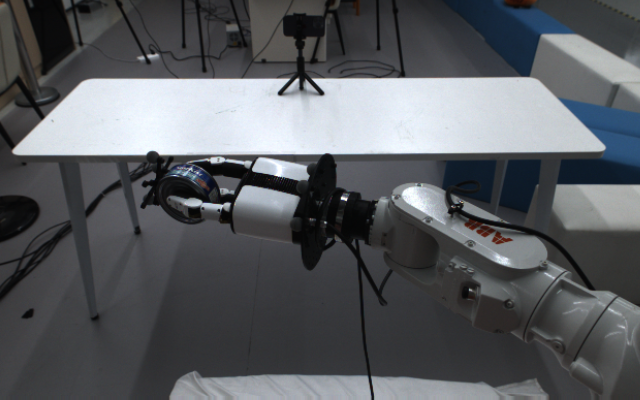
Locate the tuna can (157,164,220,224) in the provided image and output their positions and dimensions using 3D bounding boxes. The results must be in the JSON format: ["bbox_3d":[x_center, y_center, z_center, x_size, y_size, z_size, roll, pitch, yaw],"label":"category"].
[{"bbox_3d":[-0.187,-0.009,0.692,0.085,0.085,0.034,8,37,9],"label":"tuna can"}]
